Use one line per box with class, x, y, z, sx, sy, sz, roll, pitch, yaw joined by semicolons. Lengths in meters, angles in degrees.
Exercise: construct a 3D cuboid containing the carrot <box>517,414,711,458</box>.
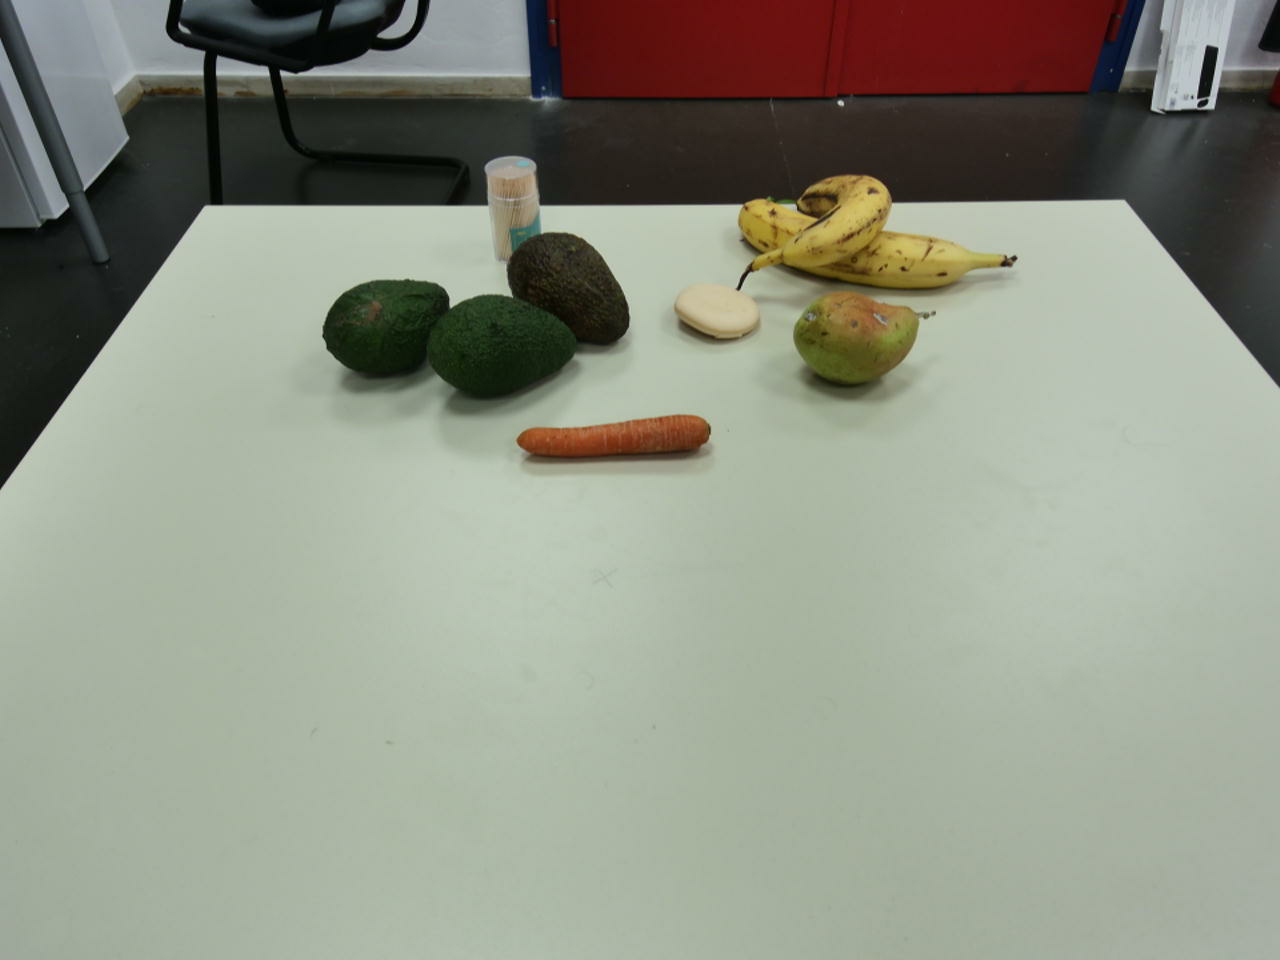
carrot;-0.016;-0.027;0.623;0.122;0.023;0.024;-2;39;-2
